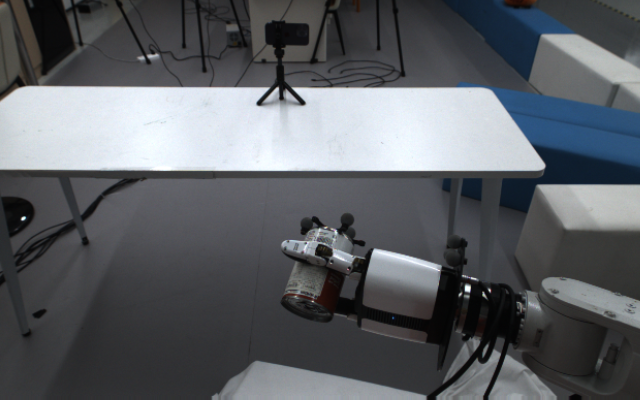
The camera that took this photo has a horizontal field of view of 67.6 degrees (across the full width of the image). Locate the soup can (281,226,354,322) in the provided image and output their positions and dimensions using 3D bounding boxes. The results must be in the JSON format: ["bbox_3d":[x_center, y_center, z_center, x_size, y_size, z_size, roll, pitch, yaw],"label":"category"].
[{"bbox_3d":[0.000,0.091,0.610,0.067,0.067,0.101,12,59,14],"label":"soup can"}]
